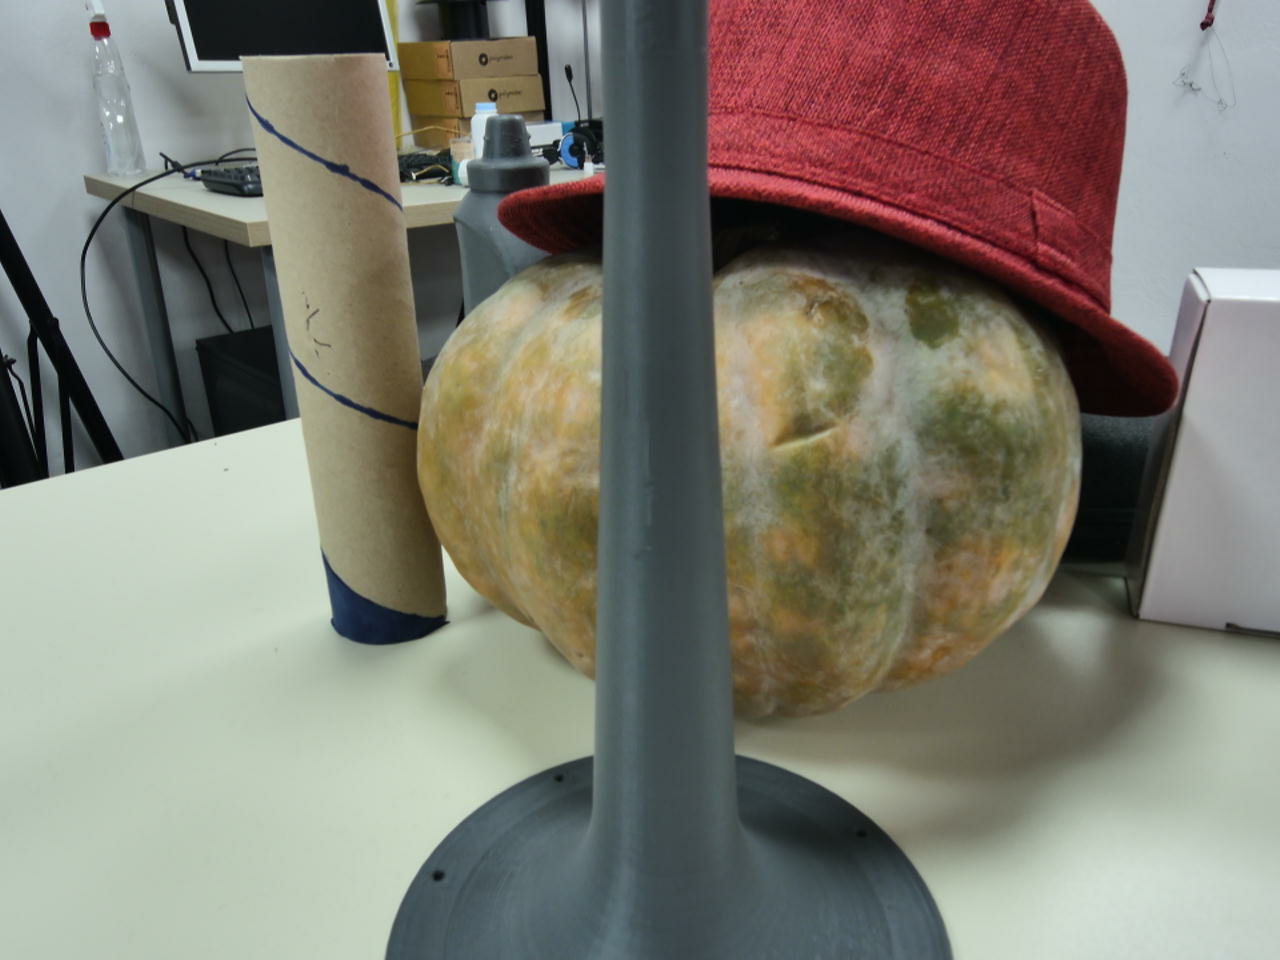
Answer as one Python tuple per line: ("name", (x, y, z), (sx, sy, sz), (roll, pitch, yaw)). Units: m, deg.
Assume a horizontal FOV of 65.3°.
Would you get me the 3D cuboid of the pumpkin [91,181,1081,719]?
("pumpkin", (0.041, -0.017, 0.389), (0.252, 0.169, 0.251), (0, 22, 0))
